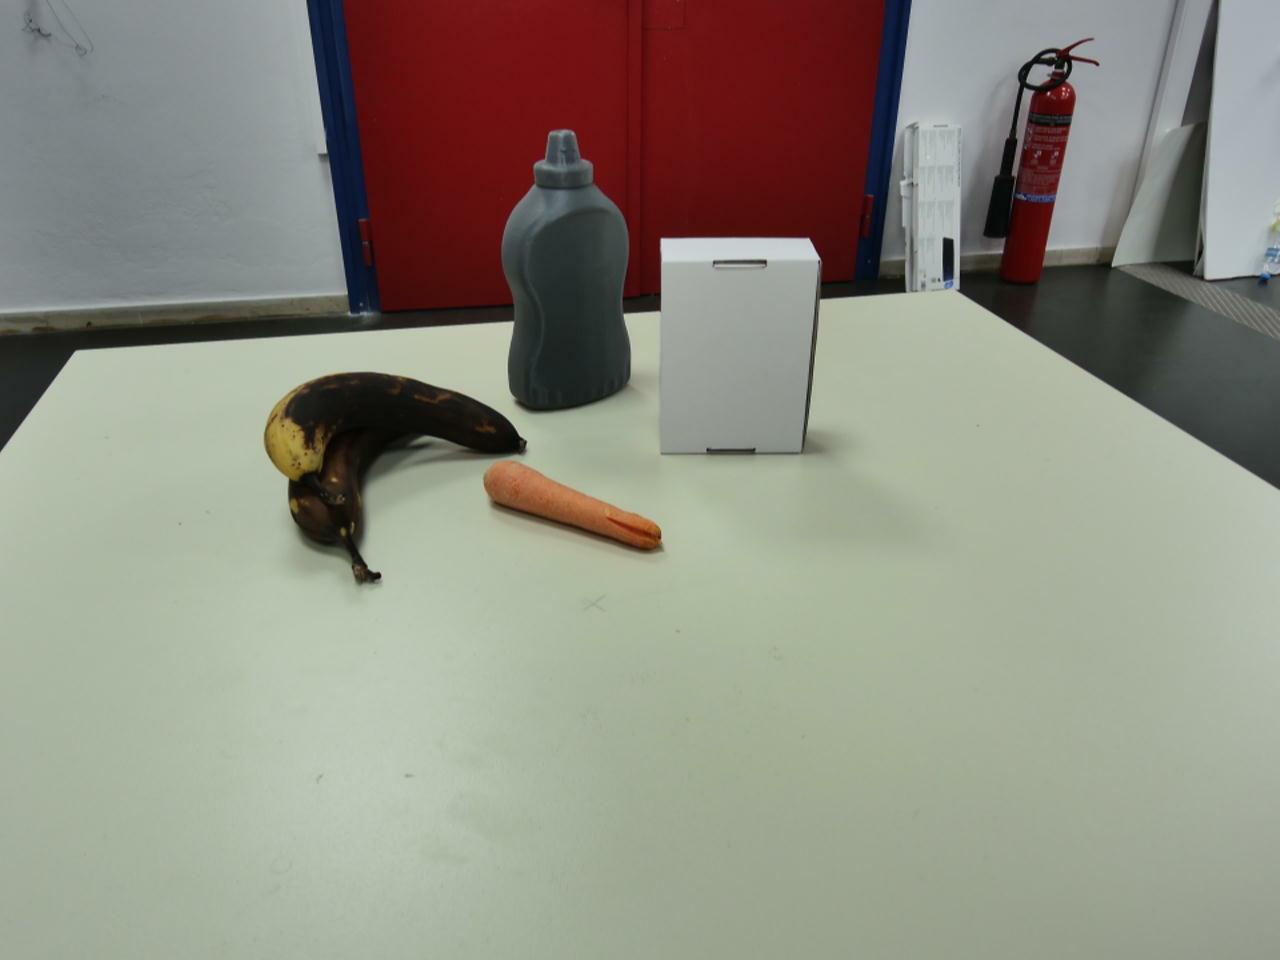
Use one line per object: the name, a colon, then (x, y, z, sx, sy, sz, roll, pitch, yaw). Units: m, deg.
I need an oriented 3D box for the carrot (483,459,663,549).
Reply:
carrot: (-0.045, 0.015, 0.637, 0.136, 0.032, 0.030, 16, 31, 29)
